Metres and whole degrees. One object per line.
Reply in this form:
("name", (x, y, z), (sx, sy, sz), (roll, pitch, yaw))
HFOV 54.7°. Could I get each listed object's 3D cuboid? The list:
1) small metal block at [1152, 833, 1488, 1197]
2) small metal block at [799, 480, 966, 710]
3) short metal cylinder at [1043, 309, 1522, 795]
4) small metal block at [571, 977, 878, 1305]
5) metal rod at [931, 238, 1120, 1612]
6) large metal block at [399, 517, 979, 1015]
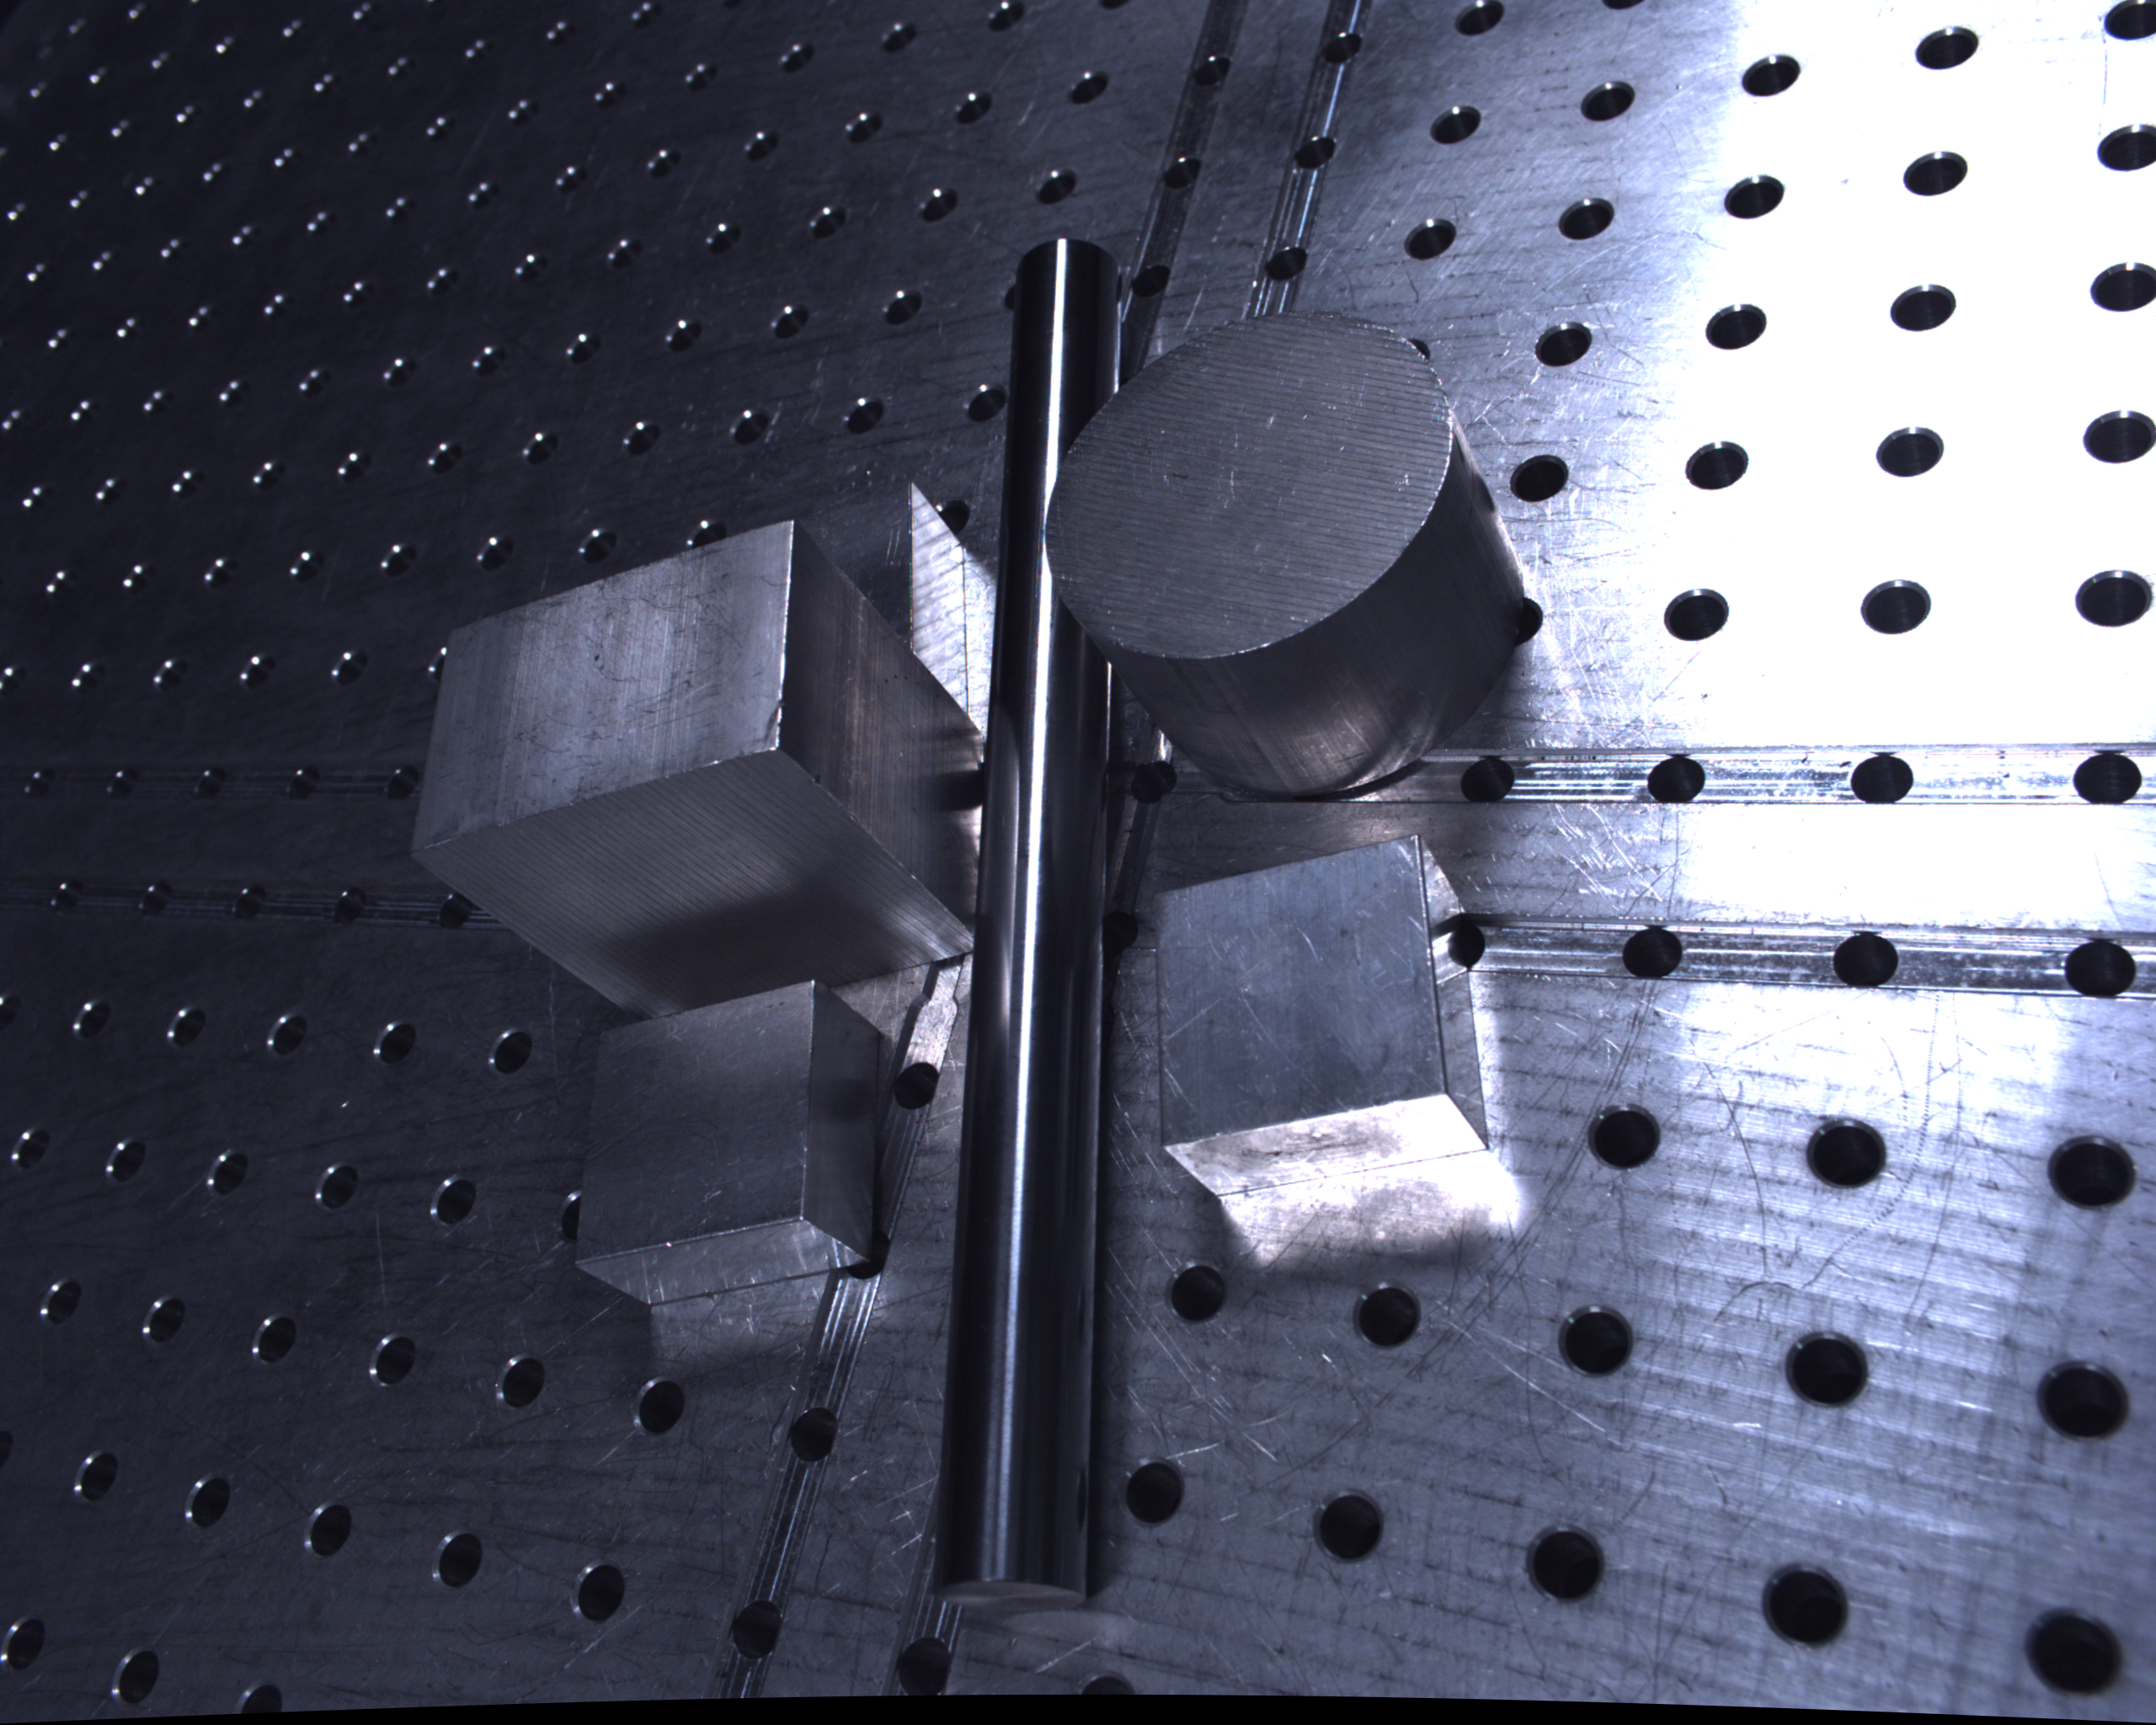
("small metal block", (0.042, 0.027, 0.368), (0.050, 0.025, 0.050), (-14, 56, 20))
("small metal block", (-0.054, -0.051, 0.466), (0.050, 0.025, 0.050), (-16, 55, 18))
("short metal cylinder", (0.040, -0.060, 0.406), (0.080, 0.050, 0.080), (-13, 56, 20))
("small metal block", (-0.068, 0.055, 0.409), (0.050, 0.025, 0.050), (-14, 56, 19))
("metal rod", (-0.007, -0.009, 0.416), (0.025, 0.025, 0.299), (-12, 57, 21))
("large metal block", (-0.073, -0.015, 0.417), (0.080, 0.080, 0.050), (-14, 56, 20))
